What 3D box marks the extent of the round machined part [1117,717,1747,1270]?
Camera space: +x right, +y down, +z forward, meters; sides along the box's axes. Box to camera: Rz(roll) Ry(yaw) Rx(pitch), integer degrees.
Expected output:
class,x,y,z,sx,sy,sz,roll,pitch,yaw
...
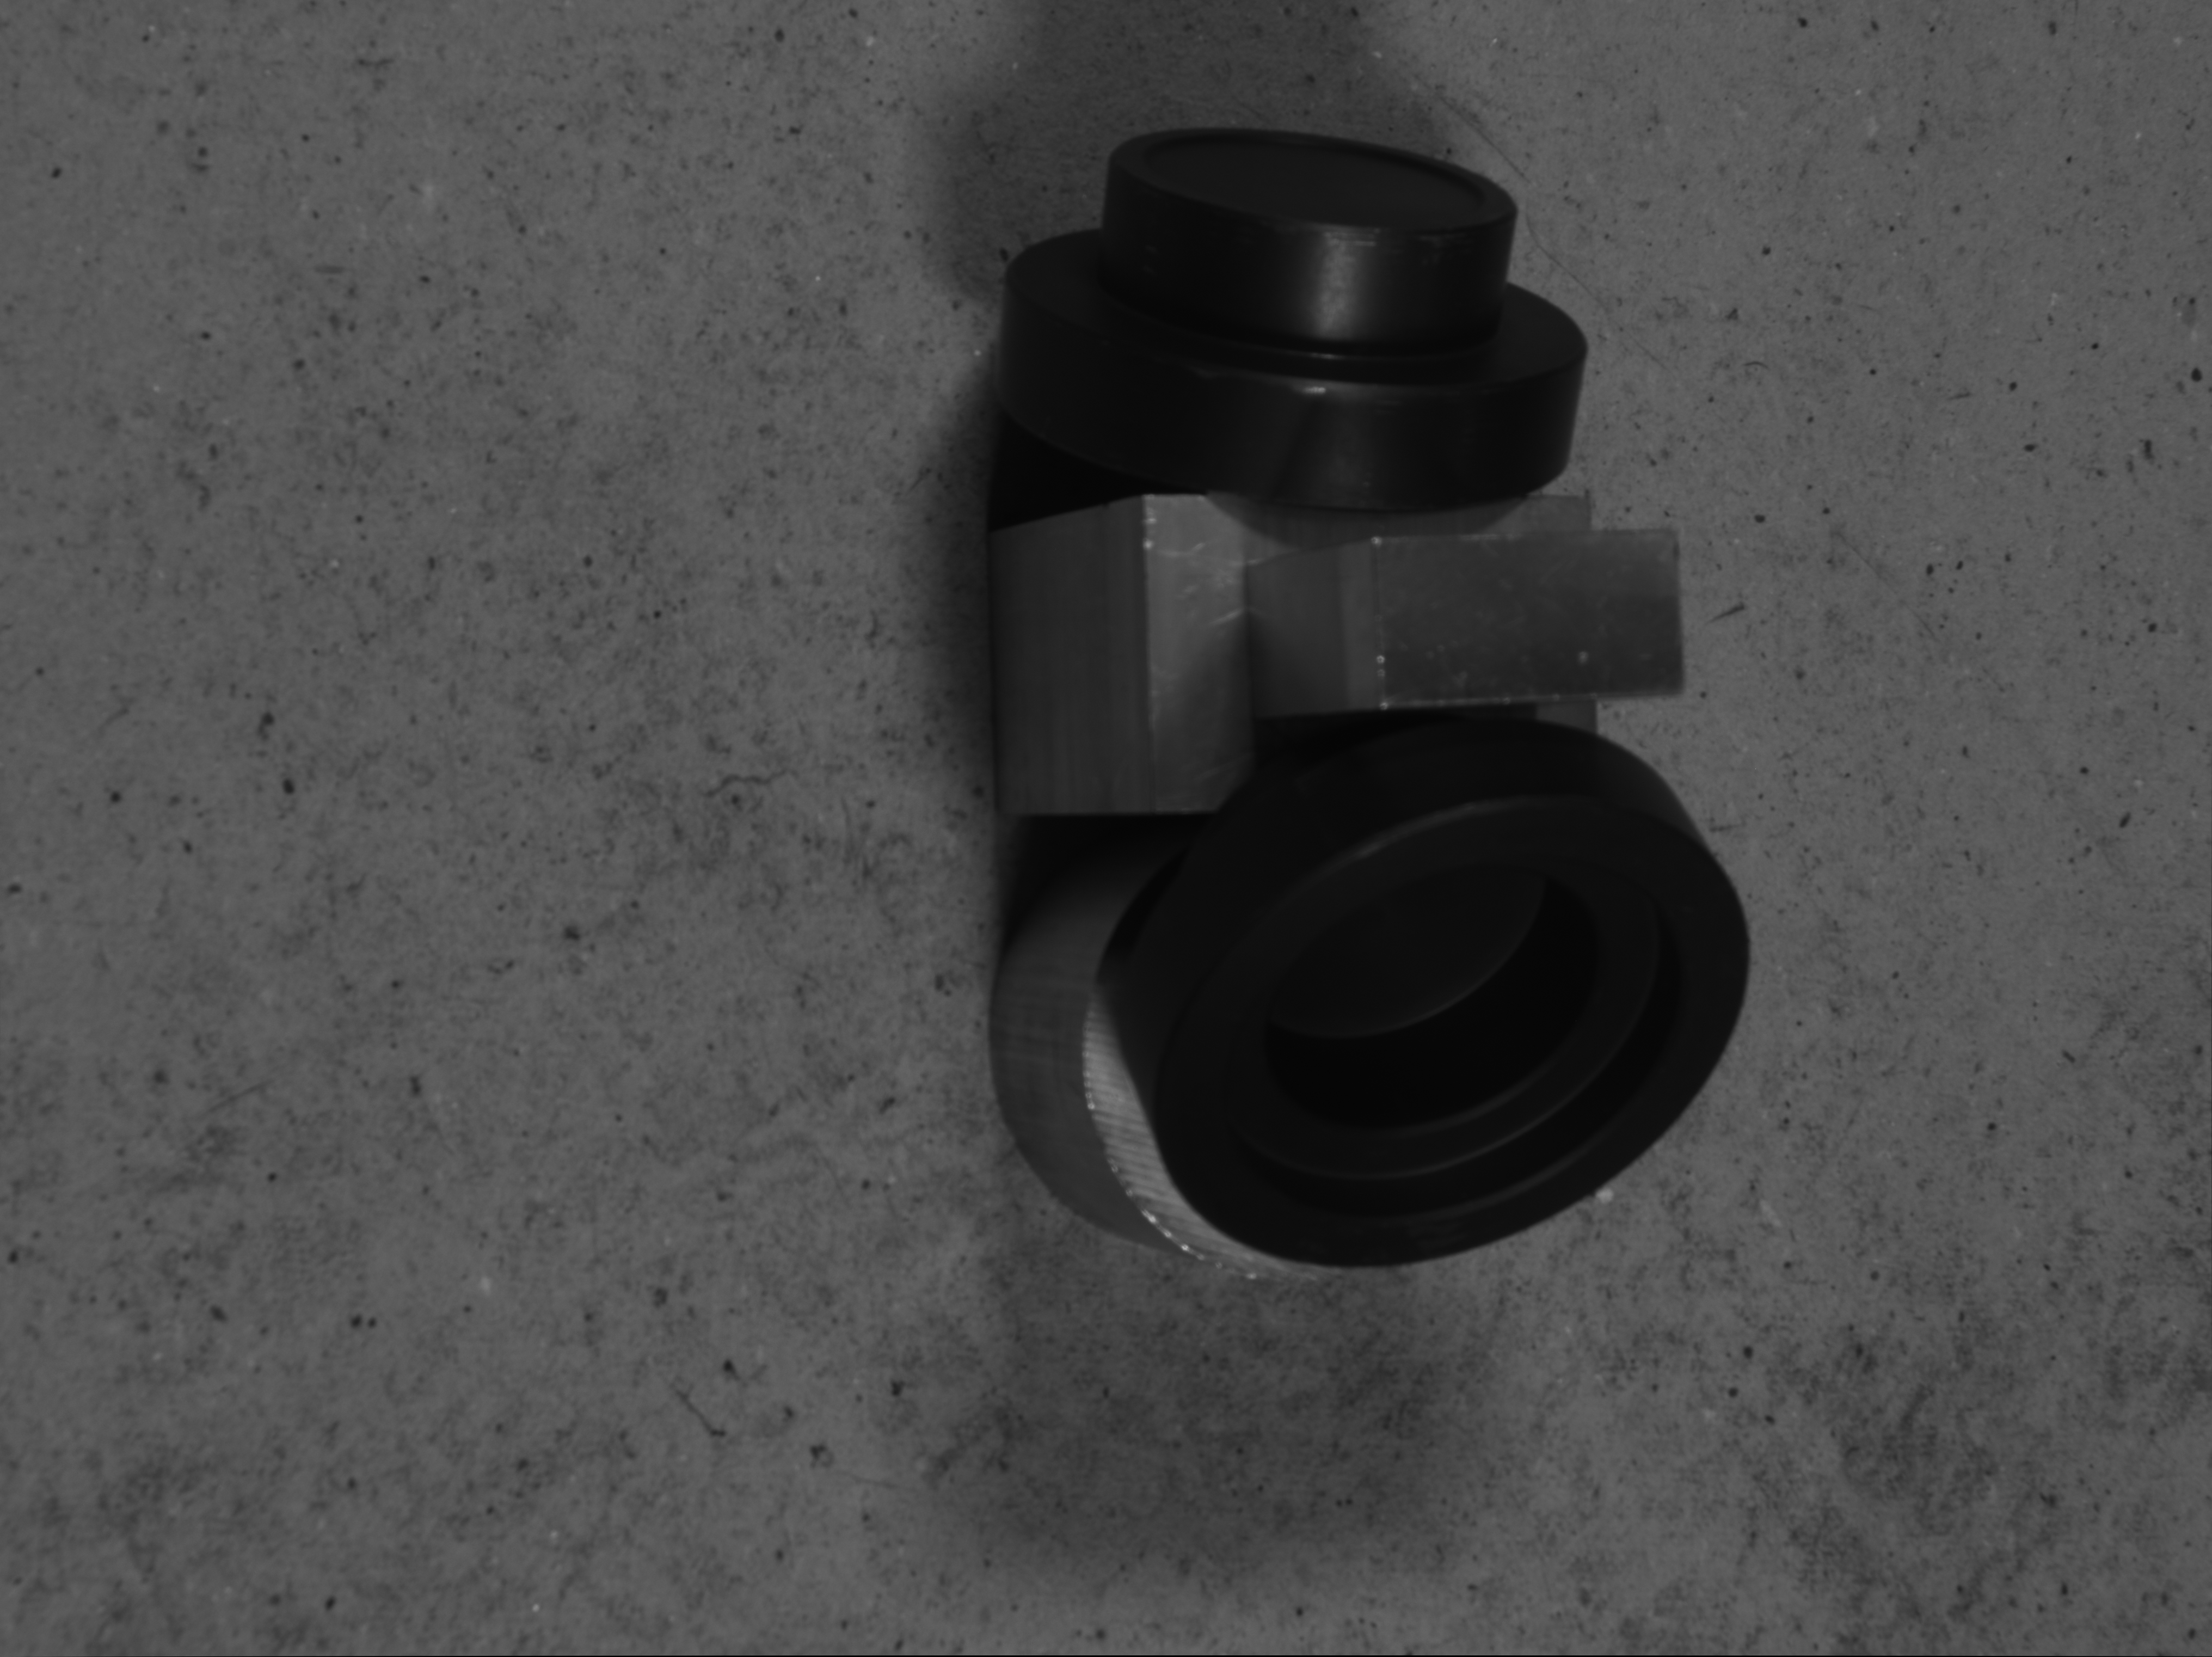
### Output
class,x,y,z,sx,sy,sz,roll,pitch,yaw
round machined part,0.048,0.021,0.582,0.098,0.042,0.098,-11,131,-12

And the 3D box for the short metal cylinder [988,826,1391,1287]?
class,x,y,z,sx,sy,sz,roll,pitch,yaw
short metal cylinder,0.025,0.037,0.640,0.080,0.050,0.080,0,90,-20

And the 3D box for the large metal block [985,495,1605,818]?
class,x,y,z,sx,sy,sz,roll,pitch,yaw
large metal block,0.030,-0.028,0.625,0.080,0.080,0.050,-2,91,-20

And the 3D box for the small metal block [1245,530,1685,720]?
class,x,y,z,sx,sy,sz,roll,pitch,yaw
small metal block,0.054,-0.031,0.564,0.050,0.050,0.025,-3,90,-20

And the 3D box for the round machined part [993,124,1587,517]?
class,x,y,z,sx,sy,sz,roll,pitch,yaw
round machined part,0.032,-0.089,0.612,0.098,0.098,0.042,-2,116,-20
